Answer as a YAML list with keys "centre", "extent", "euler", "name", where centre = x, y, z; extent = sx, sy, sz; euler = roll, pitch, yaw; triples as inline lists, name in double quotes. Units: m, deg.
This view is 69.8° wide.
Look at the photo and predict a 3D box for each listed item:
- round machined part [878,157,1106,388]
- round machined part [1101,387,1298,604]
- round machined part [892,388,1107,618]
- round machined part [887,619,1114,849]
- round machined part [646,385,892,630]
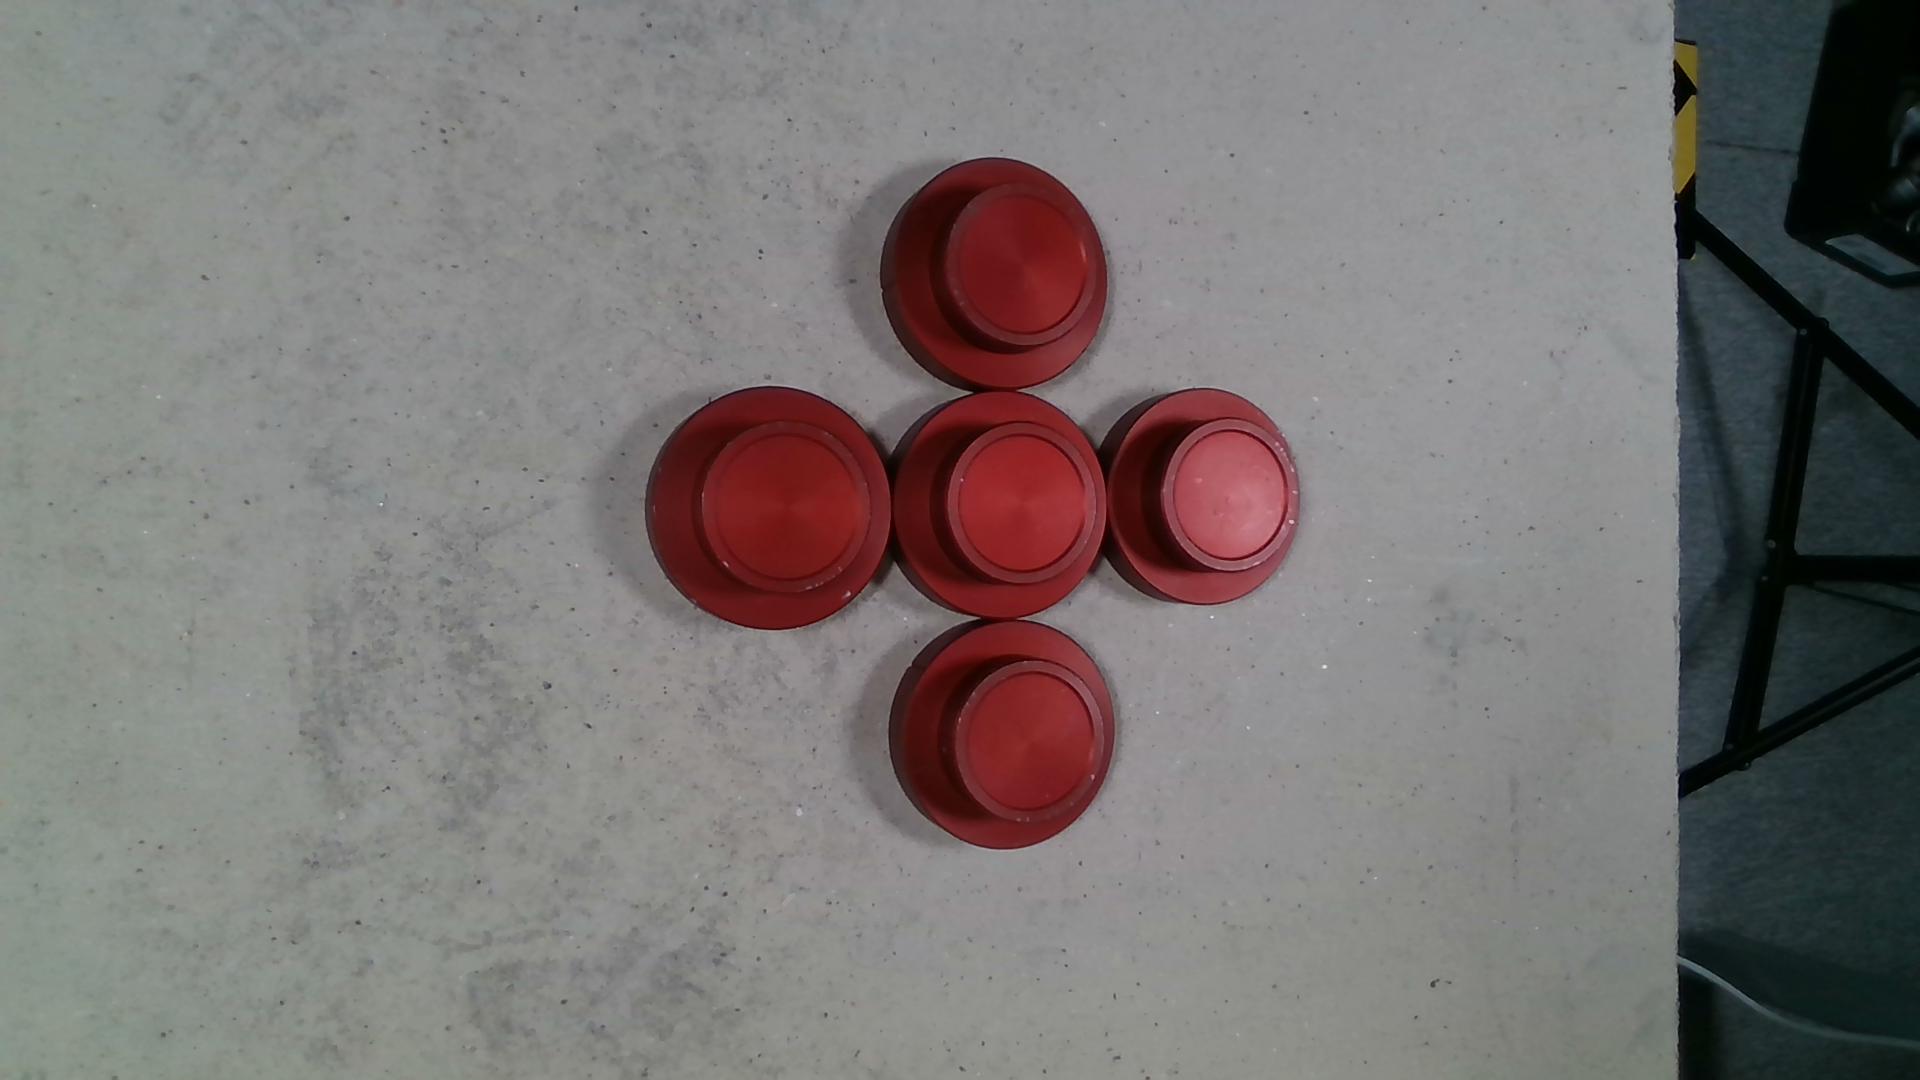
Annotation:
- centre: [0.018, -0.114, 0.583]
  extent: [0.098, 0.042, 0.098]
  euler: [0, 90, -20]
  name: "round machined part"
- centre: [0.111, -0.020, 0.618]
  extent: [0.098, 0.042, 0.098]
  euler: [0, 90, -20]
  name: "round machined part"
- centre: [0.019, -0.016, 0.584]
  extent: [0.098, 0.042, 0.098]
  euler: [0, 90, -20]
  name: "round machined part"
- centre: [0.022, 0.083, 0.586]
  extent: [0.098, 0.042, 0.098]
  euler: [0, 90, -20]
  name: "round machined part"
- centre: [-0.074, -0.013, 0.549]
  extent: [0.098, 0.042, 0.098]
  euler: [0, 90, -20]
  name: "round machined part"
